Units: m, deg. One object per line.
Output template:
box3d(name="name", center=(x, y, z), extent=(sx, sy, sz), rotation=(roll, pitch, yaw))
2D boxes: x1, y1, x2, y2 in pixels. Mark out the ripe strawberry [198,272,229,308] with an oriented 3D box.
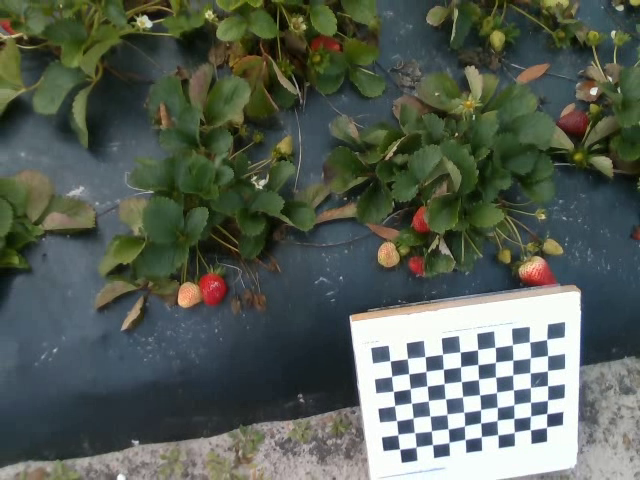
box3d(name="ripe strawberry", center=(-0.125, 0.058, 0.666), extent=(0.034, 0.042, 0.033), rotation=(22, -46, -10))
